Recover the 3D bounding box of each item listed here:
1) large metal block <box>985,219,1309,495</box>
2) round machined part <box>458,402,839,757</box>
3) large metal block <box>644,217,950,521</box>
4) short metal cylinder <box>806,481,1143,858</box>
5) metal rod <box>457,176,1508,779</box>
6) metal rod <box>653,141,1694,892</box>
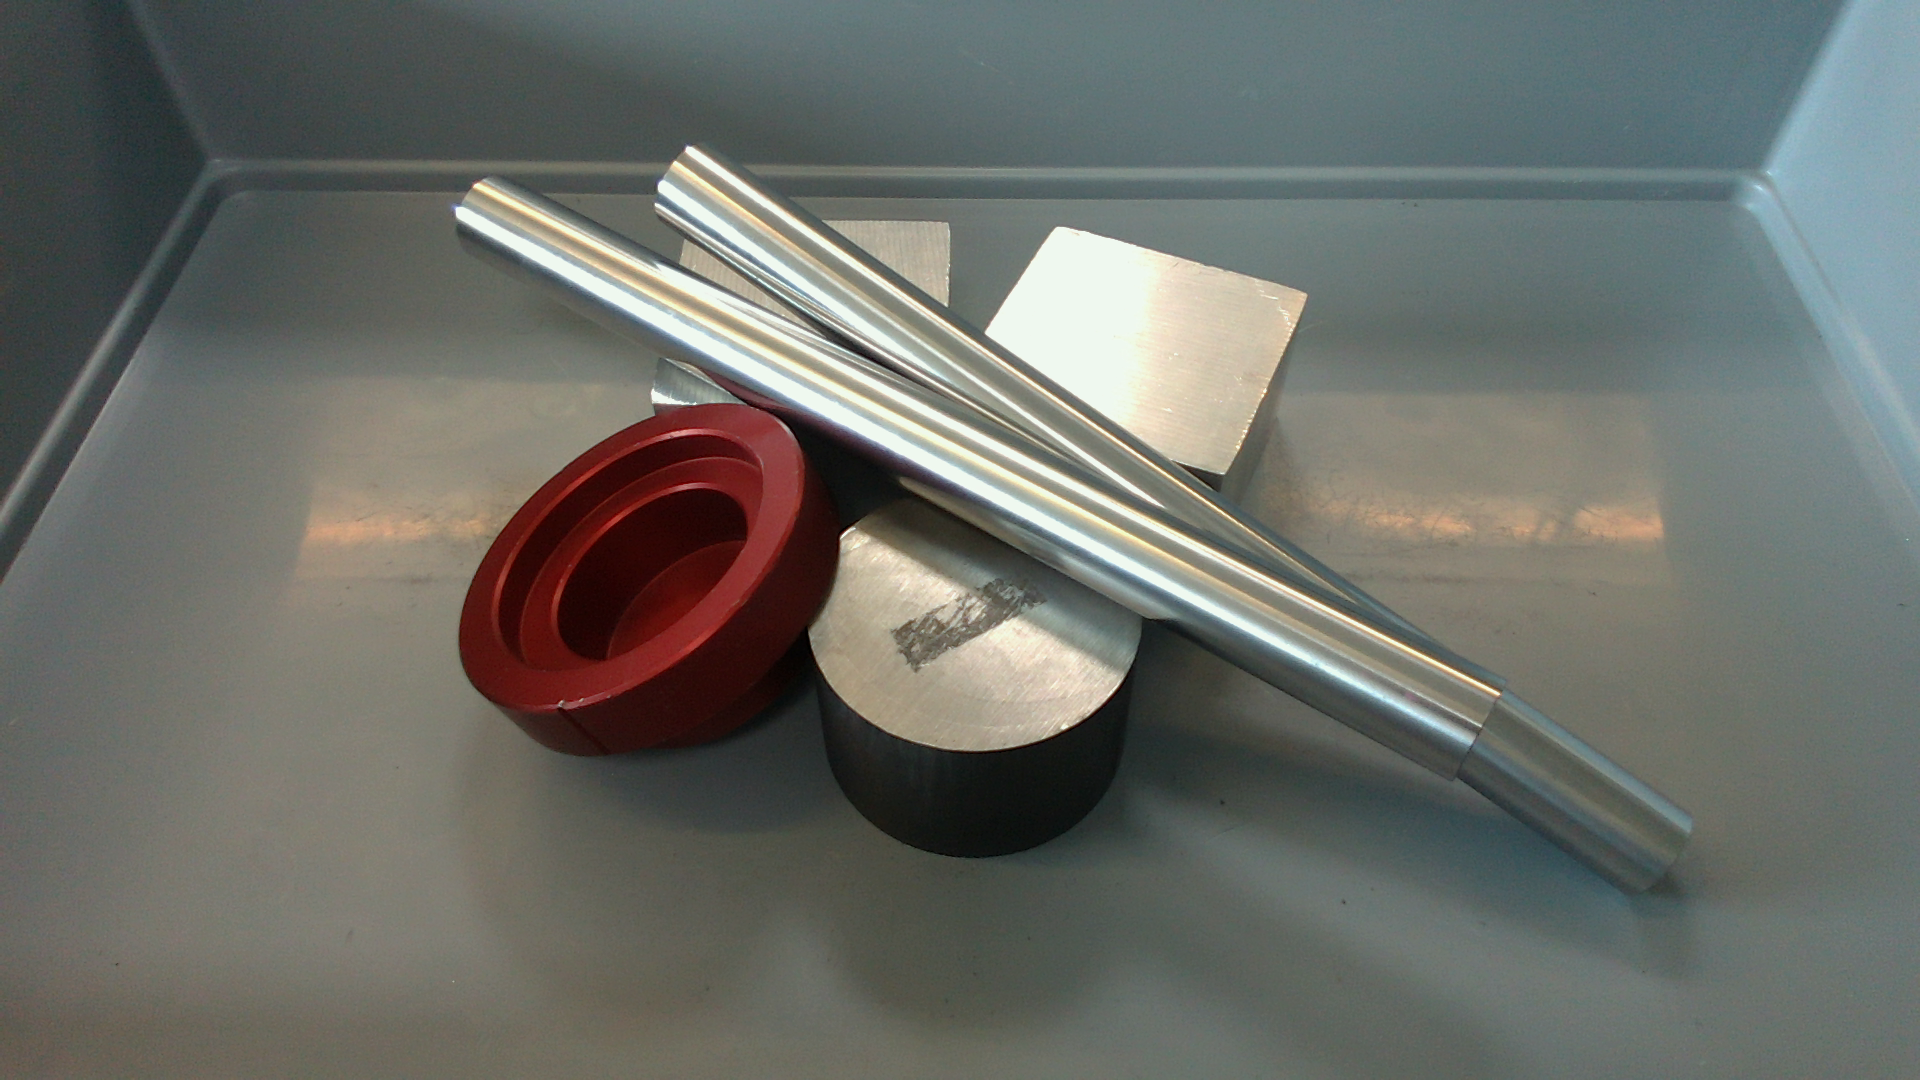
[{"bbox_3d":[0.049,-0.042,0.408,0.080,0.050,0.080,19,52,16],"label":"large metal block"},{"bbox_3d":[-0.074,0.014,0.352,0.098,0.042,0.098,-17,44,17],"label":"round machined part"},{"bbox_3d":[-0.044,-0.052,0.413,0.080,0.050,0.080,1,50,1],"label":"large metal block"},{"bbox_3d":[0.004,0.032,0.346,0.080,0.050,0.080,0,50,0],"label":"short metal cylinder"},{"bbox_3d":[-0.012,-0.027,0.345,0.299,0.025,0.025,28,56,21],"label":"metal rod"},{"bbox_3d":[0.046,-0.012,0.351,0.300,0.025,0.025,35,57,9],"label":"metal rod"}]
